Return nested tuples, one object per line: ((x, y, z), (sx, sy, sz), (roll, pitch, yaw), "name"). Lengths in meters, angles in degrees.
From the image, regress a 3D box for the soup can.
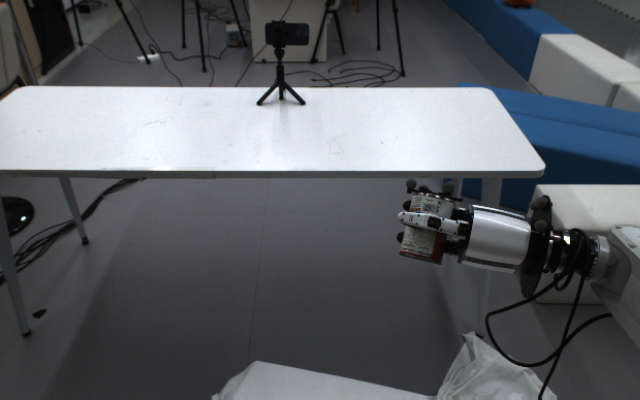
((0.169, 0.044, 0.767), (0.067, 0.101, 0.067), (14, -7, 2), "soup can")
